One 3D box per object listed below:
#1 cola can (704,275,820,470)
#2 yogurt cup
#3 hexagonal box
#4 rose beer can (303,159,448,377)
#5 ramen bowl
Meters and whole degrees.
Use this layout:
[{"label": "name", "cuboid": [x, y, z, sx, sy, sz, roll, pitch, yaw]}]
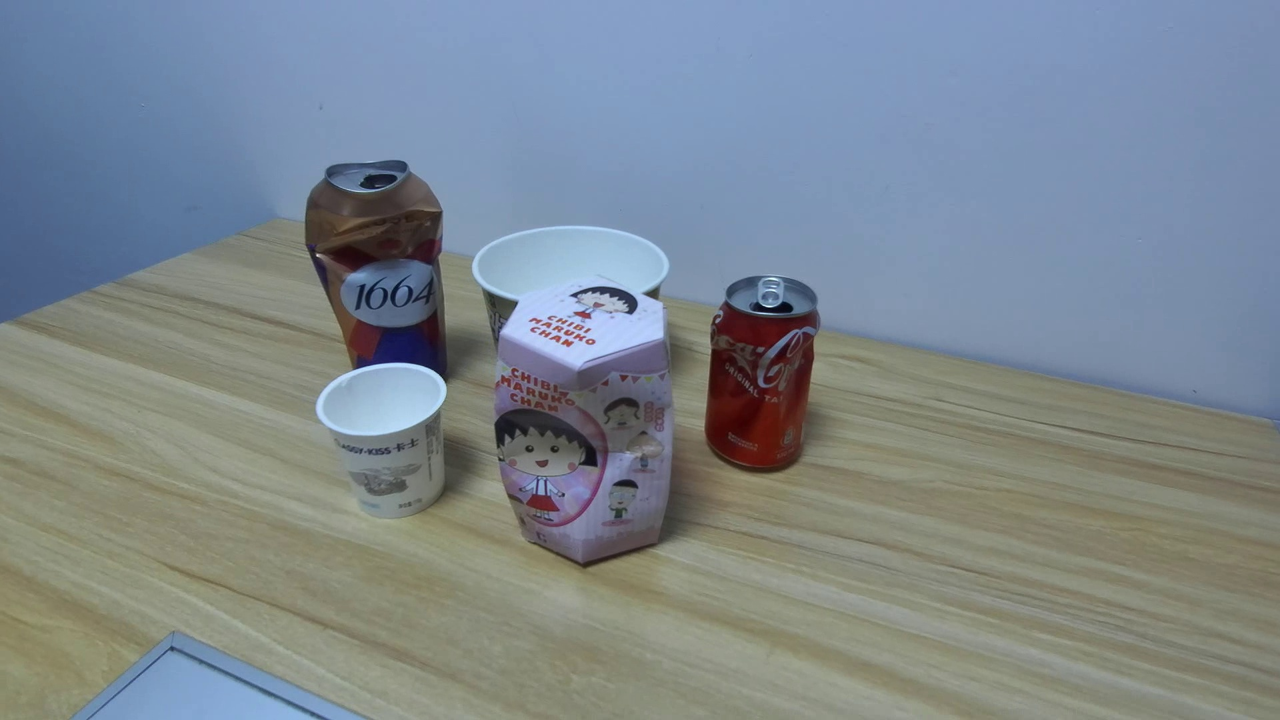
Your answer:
[{"label": "cola can", "cuboid": [0.077, 0.008, 0.446, 0.066, 0.117, 0.066, -24, 39, -35]}, {"label": "yogurt cup", "cuboid": [-0.145, 0.049, 0.414, 0.072, 0.068, 0.072, 1, 32, -1]}, {"label": "hexagonal box", "cuboid": [-0.030, 0.033, 0.384, 0.089, 0.135, 0.093, -1, 32, -3]}, {"label": "rose beer can", "cuboid": [-0.177, -0.055, 0.495, 0.068, 0.162, 0.074, 21, 39, 26]}, {"label": "ramen bowl", "cuboid": [-0.063, -0.043, 0.592, 0.140, 0.095, 0.140, 2, 35, -1]}]
